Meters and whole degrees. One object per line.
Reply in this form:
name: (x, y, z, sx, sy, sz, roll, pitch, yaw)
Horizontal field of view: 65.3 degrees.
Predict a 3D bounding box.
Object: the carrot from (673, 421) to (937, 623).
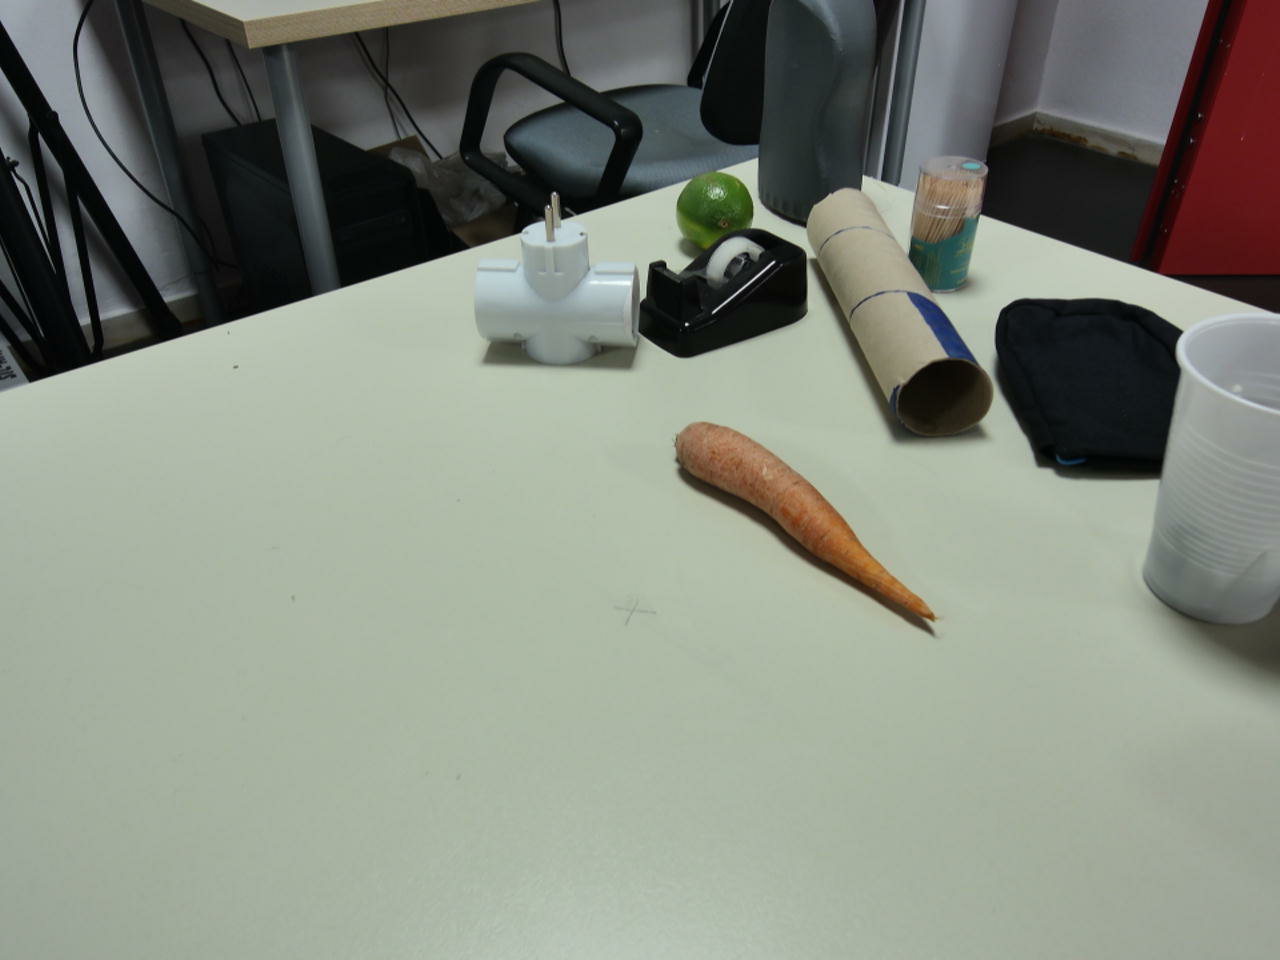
carrot: (0.072, 0.012, 0.450, 0.031, 0.029, 0.163, -24, 41, -30)
